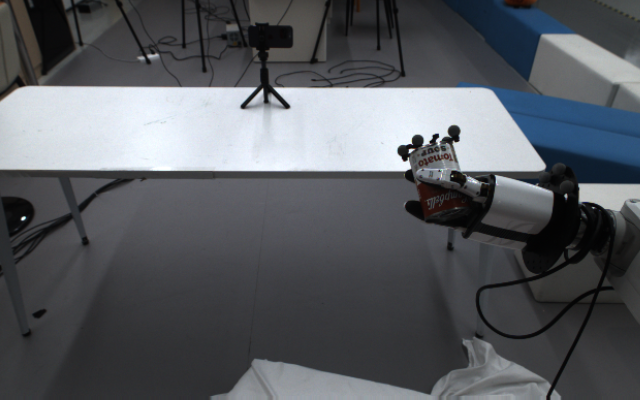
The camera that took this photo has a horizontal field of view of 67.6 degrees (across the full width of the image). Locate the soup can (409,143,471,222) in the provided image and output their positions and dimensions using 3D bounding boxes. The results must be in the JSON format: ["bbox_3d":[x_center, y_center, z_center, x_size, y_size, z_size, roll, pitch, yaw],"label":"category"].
[{"bbox_3d":[0.173,-0.026,0.698,0.067,0.067,0.101,-8,74,-14],"label":"soup can"}]
